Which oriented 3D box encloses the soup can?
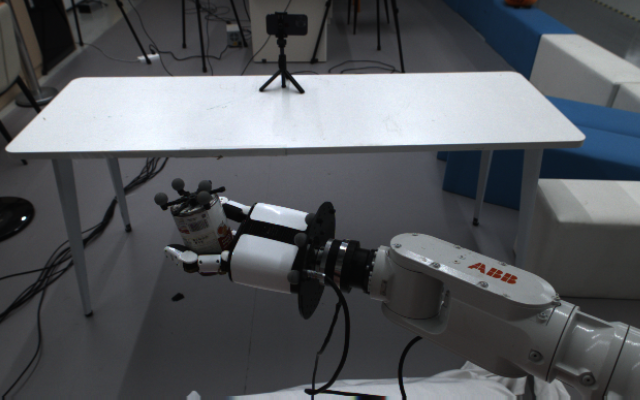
[{"bbox_3d":[-0.157,0.046,0.670,0.067,0.101,0.067,-11,27,6],"label":"soup can"}]
